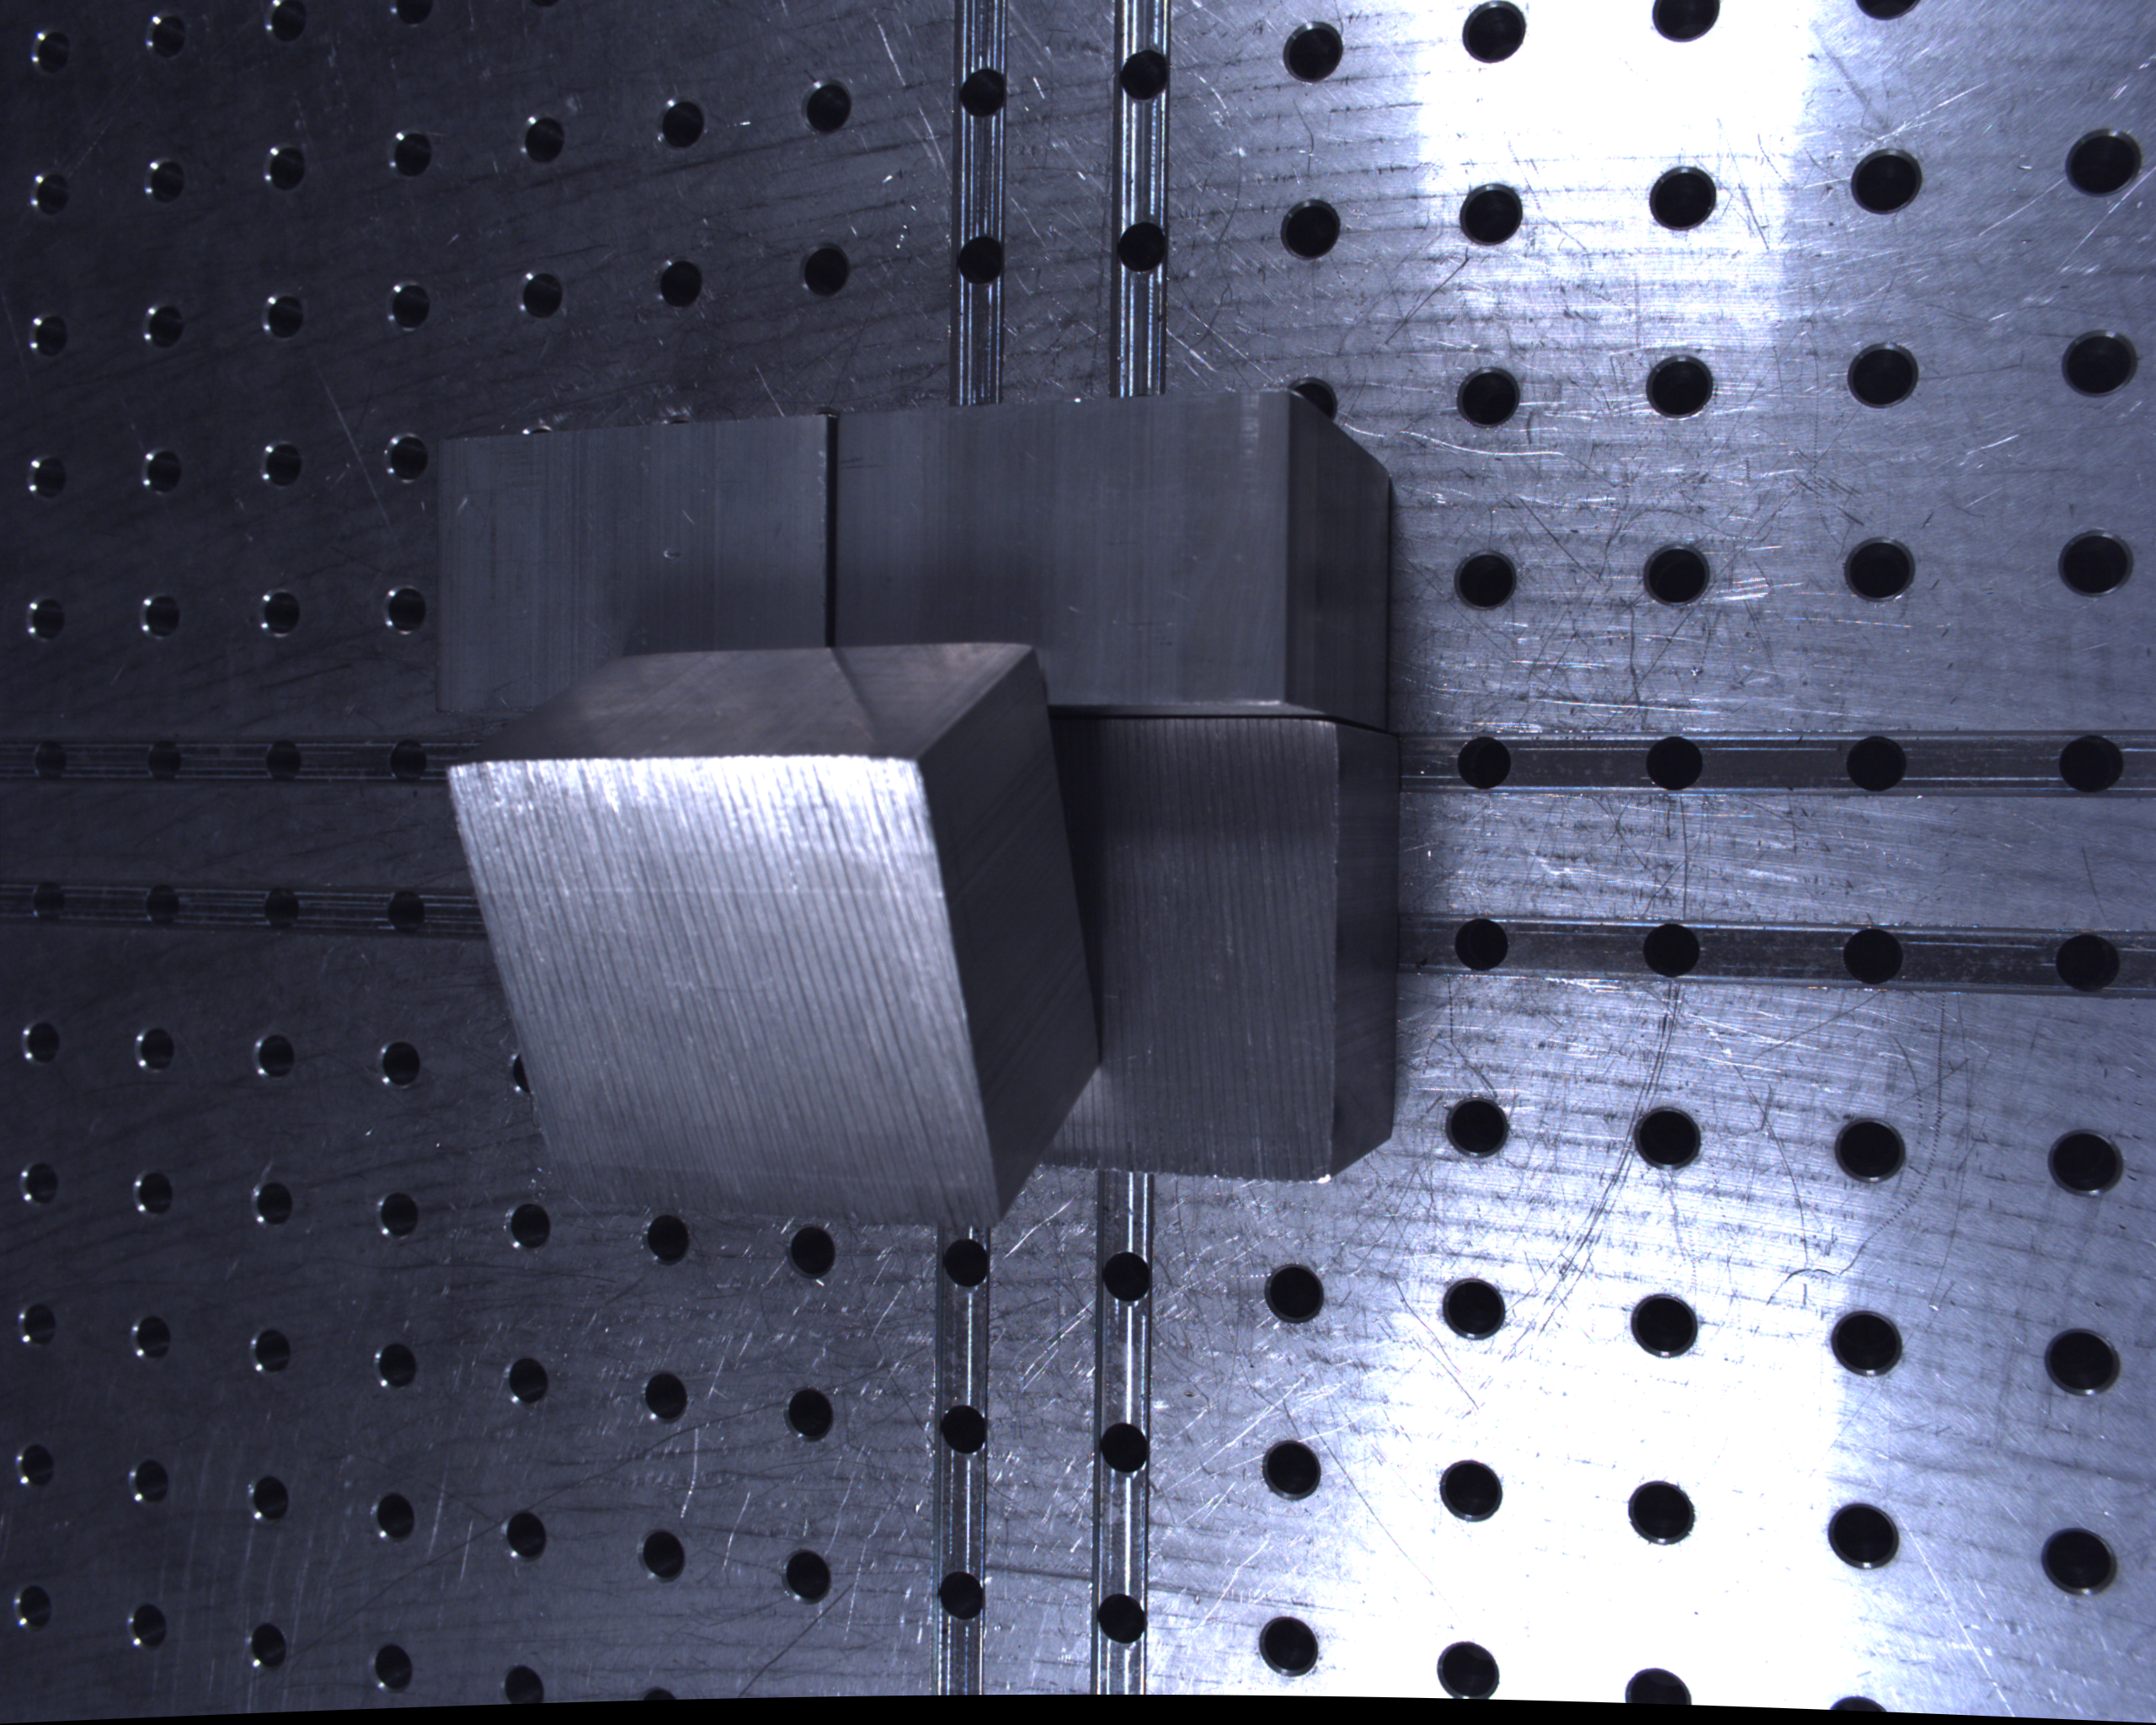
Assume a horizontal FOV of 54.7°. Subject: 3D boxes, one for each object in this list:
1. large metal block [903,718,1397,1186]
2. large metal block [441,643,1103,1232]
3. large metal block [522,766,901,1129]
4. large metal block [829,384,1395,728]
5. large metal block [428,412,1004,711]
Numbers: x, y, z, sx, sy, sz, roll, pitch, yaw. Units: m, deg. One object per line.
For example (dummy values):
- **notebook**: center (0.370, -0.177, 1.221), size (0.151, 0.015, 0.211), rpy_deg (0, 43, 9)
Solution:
- **large metal block**: center (0.015, 0.014, 0.391), size (0.080, 0.050, 0.079), rpy_deg (1, 90, 19)
- **large metal block**: center (-0.047, 0.011, 0.344), size (0.080, 0.050, 0.079), rpy_deg (0, 114, 19)
- **large metal block**: center (-0.062, 0.013, 0.418), size (0.080, 0.050, 0.079), rpy_deg (1, 90, 19)
- **large metal block**: center (0.009, -0.051, 0.378), size (0.080, 0.080, 0.050), rpy_deg (1, 91, 19)
- **large metal block**: center (-0.067, -0.052, 0.405), size (0.080, 0.080, 0.050), rpy_deg (1, 91, 19)
